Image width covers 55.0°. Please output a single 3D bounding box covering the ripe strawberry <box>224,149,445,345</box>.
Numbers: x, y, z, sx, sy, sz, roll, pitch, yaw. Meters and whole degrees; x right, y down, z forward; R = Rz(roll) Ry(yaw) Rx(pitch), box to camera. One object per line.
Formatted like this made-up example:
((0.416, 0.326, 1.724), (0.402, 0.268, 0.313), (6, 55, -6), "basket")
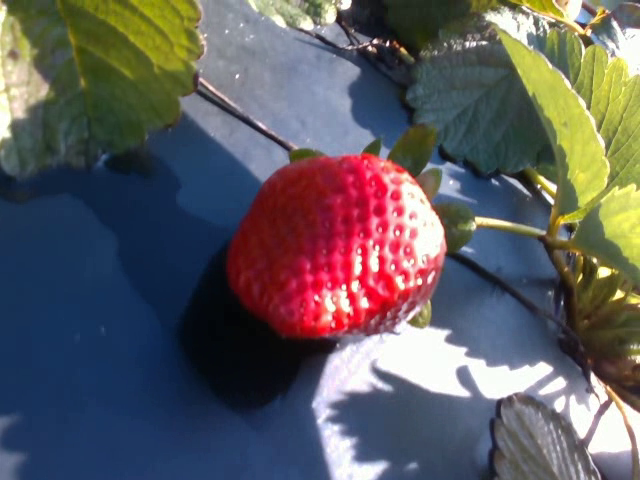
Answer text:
((0.002, 0.003, 0.114), (0.044, 0.042, 0.055), (0, 22, 28), "ripe strawberry")
